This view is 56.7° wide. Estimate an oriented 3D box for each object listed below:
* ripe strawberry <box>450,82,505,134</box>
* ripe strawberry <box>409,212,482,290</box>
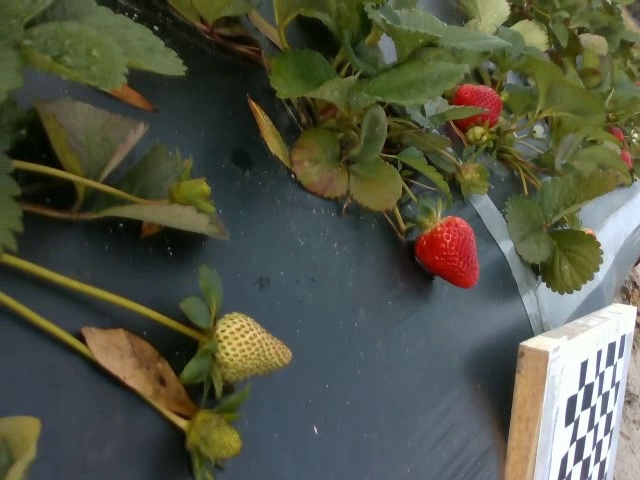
[{"bbox_3d":[0.133,-0.121,0.503,0.062,0.043,0.042,25,-6,-41],"label":"ripe strawberry"},{"bbox_3d":[0.074,0.006,0.324,0.036,0.046,0.040,-18,-25,-36],"label":"ripe strawberry"}]
